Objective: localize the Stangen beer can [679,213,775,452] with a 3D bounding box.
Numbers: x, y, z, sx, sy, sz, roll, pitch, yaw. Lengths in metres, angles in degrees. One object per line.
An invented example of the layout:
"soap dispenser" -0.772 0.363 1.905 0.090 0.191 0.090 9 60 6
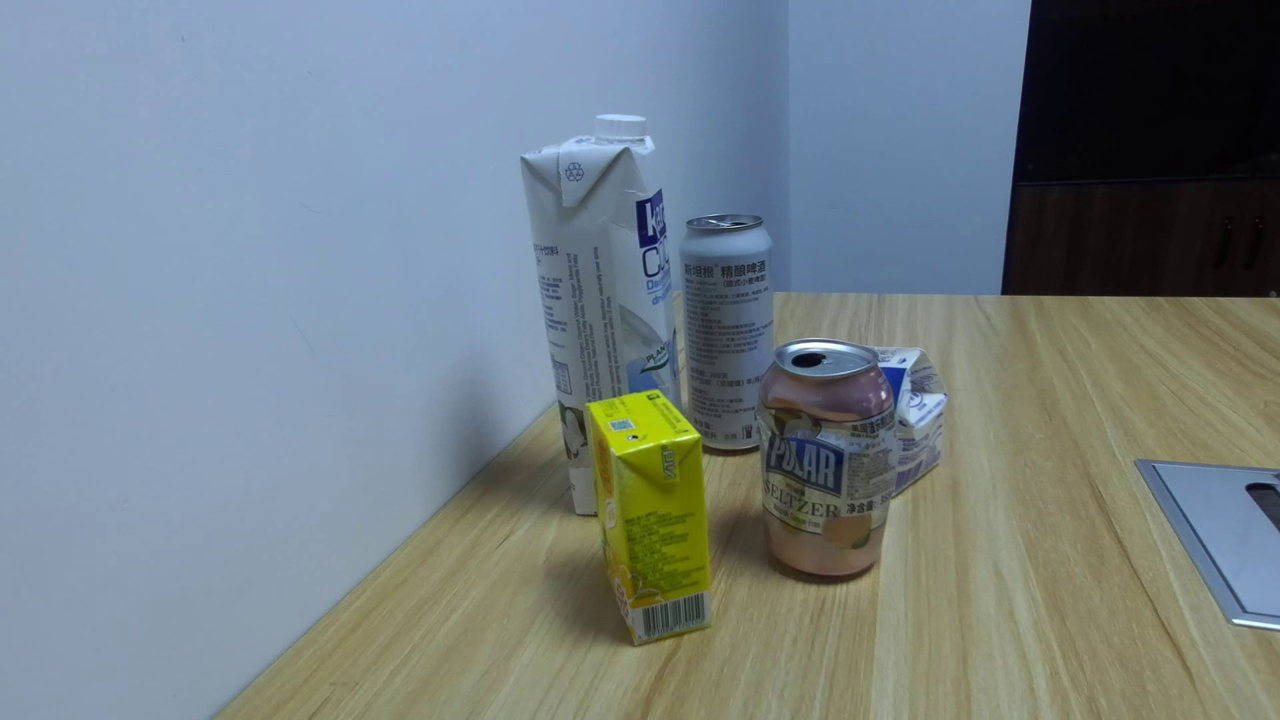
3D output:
"Stangen beer can" 0.065 -0.018 0.520 0.067 0.171 0.067 -4 19 2

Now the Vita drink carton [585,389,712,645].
"Vita drink carton" 0.003 0.078 0.362 0.044 0.109 0.066 -10 21 -14

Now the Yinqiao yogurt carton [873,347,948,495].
"Yinqiao yogurt carton" 0.158 0.031 0.476 0.077 0.093 0.082 -21 26 -37

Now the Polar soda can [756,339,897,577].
"Polar soda can" 0.100 0.055 0.390 0.067 0.122 0.074 -5 22 -5
